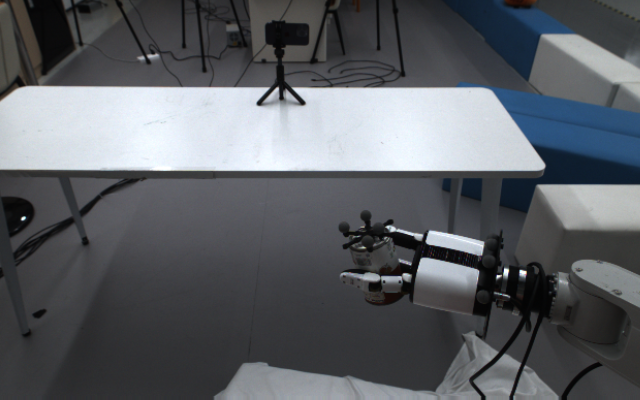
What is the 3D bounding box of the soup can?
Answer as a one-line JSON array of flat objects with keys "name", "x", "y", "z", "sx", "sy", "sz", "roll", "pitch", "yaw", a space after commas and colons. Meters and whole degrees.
[{"name": "soup can", "x": 0.089, "y": 0.099, "z": 0.731, "sx": 0.067, "sy": 0.101, "sz": 0.067, "roll": -16, "pitch": 22, "yaw": 7}]
